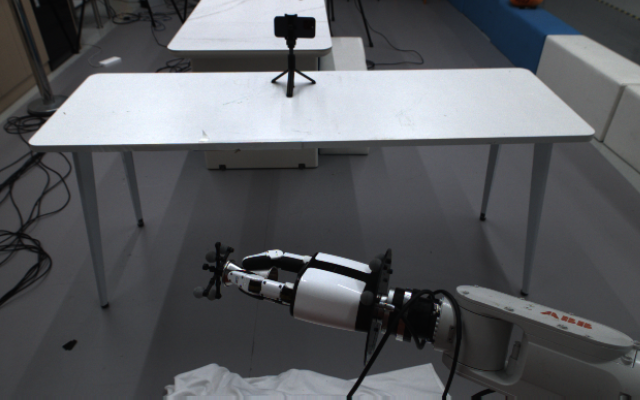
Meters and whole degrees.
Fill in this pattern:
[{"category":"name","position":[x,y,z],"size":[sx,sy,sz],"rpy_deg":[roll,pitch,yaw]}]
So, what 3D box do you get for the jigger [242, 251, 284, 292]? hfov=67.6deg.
[{"category":"jigger","position":[-0.093,0.106,0.685],"size":[0.071,0.043,0.043],"rpy_deg":[8,35,16]}]
